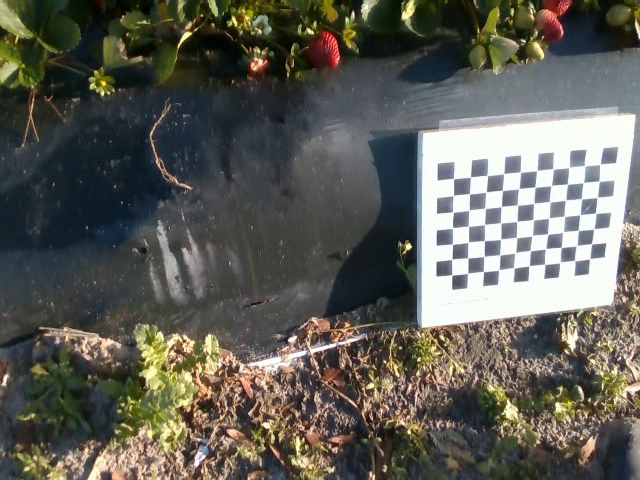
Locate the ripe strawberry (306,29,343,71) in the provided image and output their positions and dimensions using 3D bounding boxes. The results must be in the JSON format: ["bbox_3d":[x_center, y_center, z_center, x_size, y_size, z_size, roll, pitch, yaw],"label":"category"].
[{"bbox_3d":[0.007,-0.232,0.767,0.052,0.052,0.041,-35,-37,2],"label":"ripe strawberry"}]
